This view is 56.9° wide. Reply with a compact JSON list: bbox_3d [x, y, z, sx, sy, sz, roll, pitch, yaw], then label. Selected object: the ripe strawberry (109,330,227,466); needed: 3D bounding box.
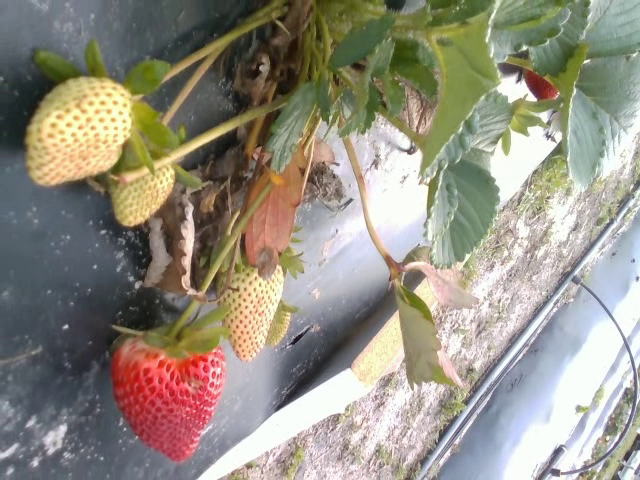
[{"bbox_3d":[-0.054,0.058,0.221,0.034,0.059,0.050,13,28,35],"label":"ripe strawberry"}]
